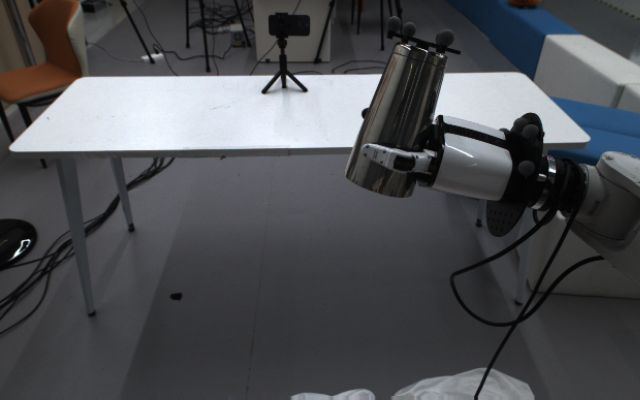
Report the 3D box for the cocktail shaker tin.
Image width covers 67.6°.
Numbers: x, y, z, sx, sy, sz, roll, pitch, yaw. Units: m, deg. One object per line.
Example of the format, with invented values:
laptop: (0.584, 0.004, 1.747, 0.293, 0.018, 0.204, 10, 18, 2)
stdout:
cocktail shaker tin: (0.098, -0.099, 0.598, 0.093, 0.170, 0.093, 14, 20, -5)
